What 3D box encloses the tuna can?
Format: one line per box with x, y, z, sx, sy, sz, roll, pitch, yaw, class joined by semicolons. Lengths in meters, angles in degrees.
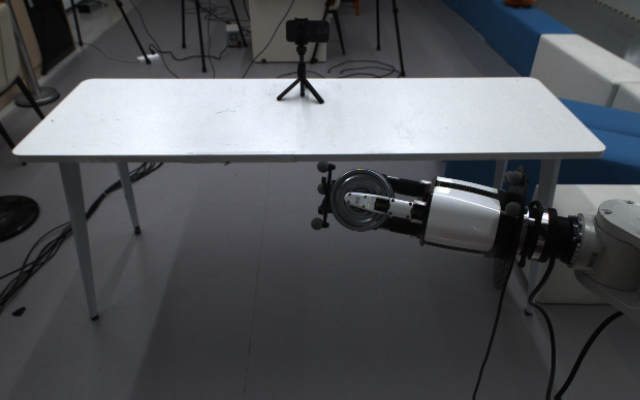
0.060;0.003;0.652;0.085;0.085;0.034;10;2;11;tuna can
